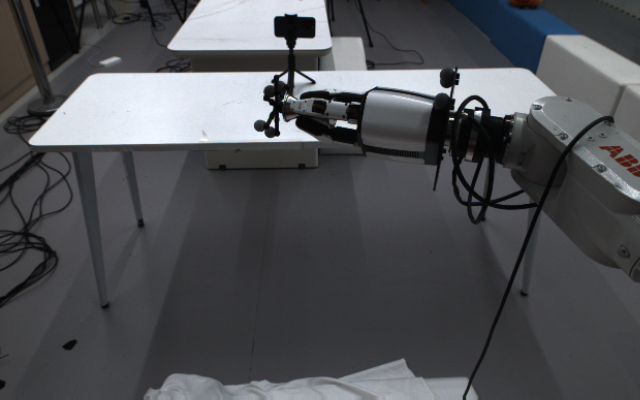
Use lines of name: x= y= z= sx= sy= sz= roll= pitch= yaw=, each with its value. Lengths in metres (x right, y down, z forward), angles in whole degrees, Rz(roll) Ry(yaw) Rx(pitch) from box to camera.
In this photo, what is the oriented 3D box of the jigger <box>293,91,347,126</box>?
jigger: x=-0.008 y=-0.128 z=0.672 sx=0.071 sy=0.043 sz=0.043 roll=10 pitch=35 yaw=16
